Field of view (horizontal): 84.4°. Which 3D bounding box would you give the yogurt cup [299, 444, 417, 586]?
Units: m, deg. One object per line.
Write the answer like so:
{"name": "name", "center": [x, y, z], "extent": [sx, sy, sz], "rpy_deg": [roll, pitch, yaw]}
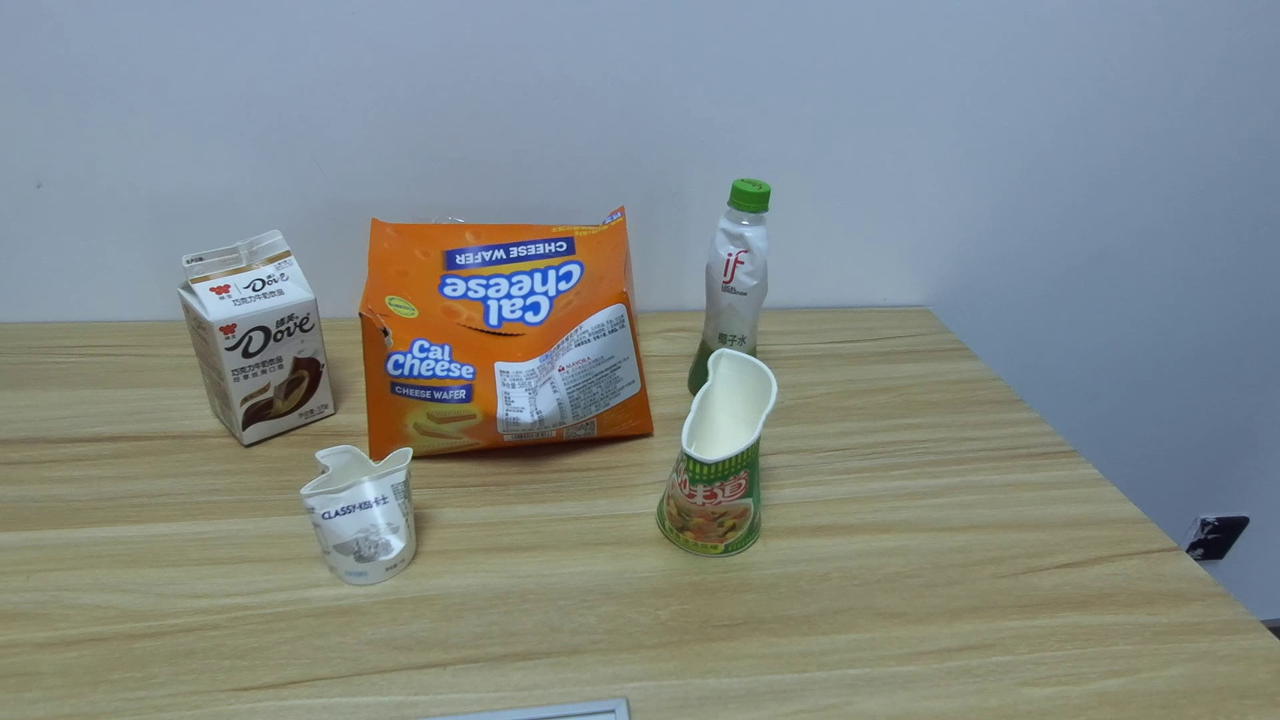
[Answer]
{"name": "yogurt cup", "center": [-0.167, 0.091, 0.431], "extent": [0.055, 0.072, 0.055], "rpy_deg": [2, 31, -2]}

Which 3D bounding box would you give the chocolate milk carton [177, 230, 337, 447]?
{"name": "chocolate milk carton", "center": [-0.290, -0.021, 0.534], "extent": [0.073, 0.148, 0.076], "rpy_deg": [28, 37, 35]}

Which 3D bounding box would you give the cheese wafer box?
{"name": "cheese wafer box", "center": [-0.103, -0.022, 0.565], "extent": [0.219, 0.145, 0.190], "rpy_deg": [-3, 31, -11]}

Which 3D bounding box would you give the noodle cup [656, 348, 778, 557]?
{"name": "noodle cup", "center": [0.050, 0.067, 0.460], "extent": [0.070, 0.111, 0.115], "rpy_deg": [22, 36, 29]}

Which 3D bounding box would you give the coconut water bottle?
{"name": "coconut water bottle", "center": [0.080, -0.052, 0.586], "extent": [0.067, 0.187, 0.067], "rpy_deg": [4, 27, -2]}
